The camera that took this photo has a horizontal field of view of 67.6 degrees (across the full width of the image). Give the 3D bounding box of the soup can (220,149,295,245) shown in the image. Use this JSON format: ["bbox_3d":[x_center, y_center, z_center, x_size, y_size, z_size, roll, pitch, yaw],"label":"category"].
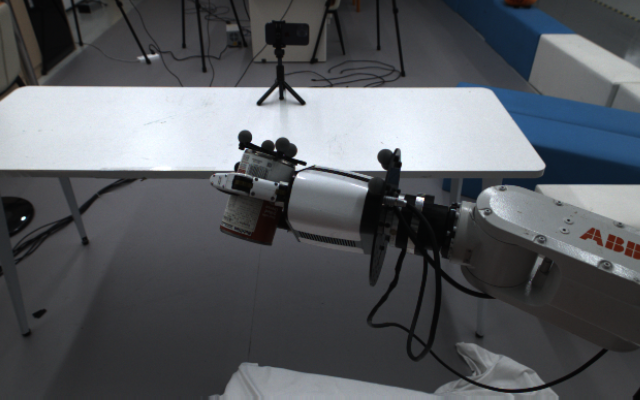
[{"bbox_3d":[-0.074,-0.002,0.586,0.067,0.101,0.067,17,-1,0],"label":"soup can"}]
